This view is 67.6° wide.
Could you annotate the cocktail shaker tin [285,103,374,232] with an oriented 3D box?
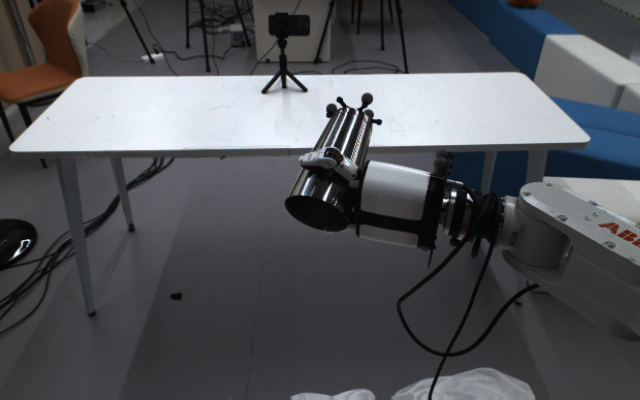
[{"bbox_3d":[0.020,-0.052,0.698,0.093,0.093,0.170,13,60,16],"label":"cocktail shaker tin"}]
